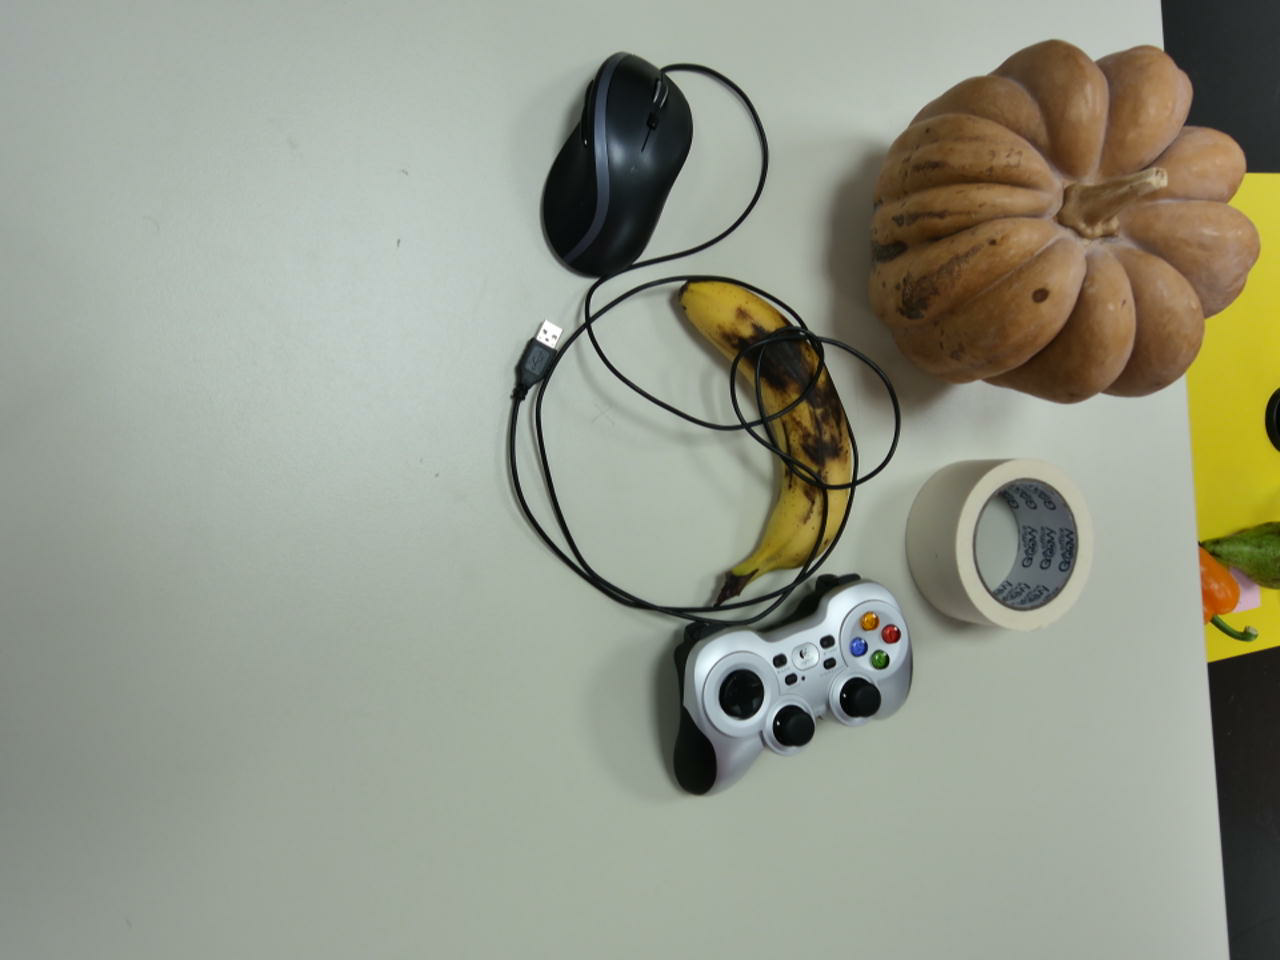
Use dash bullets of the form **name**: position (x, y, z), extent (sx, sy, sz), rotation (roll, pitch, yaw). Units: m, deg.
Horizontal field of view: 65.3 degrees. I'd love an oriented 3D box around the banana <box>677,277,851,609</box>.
- **banana**: position (0.076, -0.026, 0.578), extent (0.094, 0.039, 0.187), rotation (-7, 93, -21)
